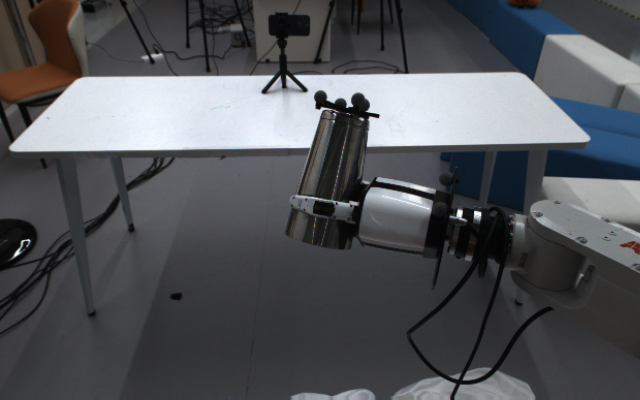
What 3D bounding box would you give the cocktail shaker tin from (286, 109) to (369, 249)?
[{"bbox_3d":[0.016,-0.028,0.647,0.093,0.170,0.093,13,4,-1],"label":"cocktail shaker tin"}]
